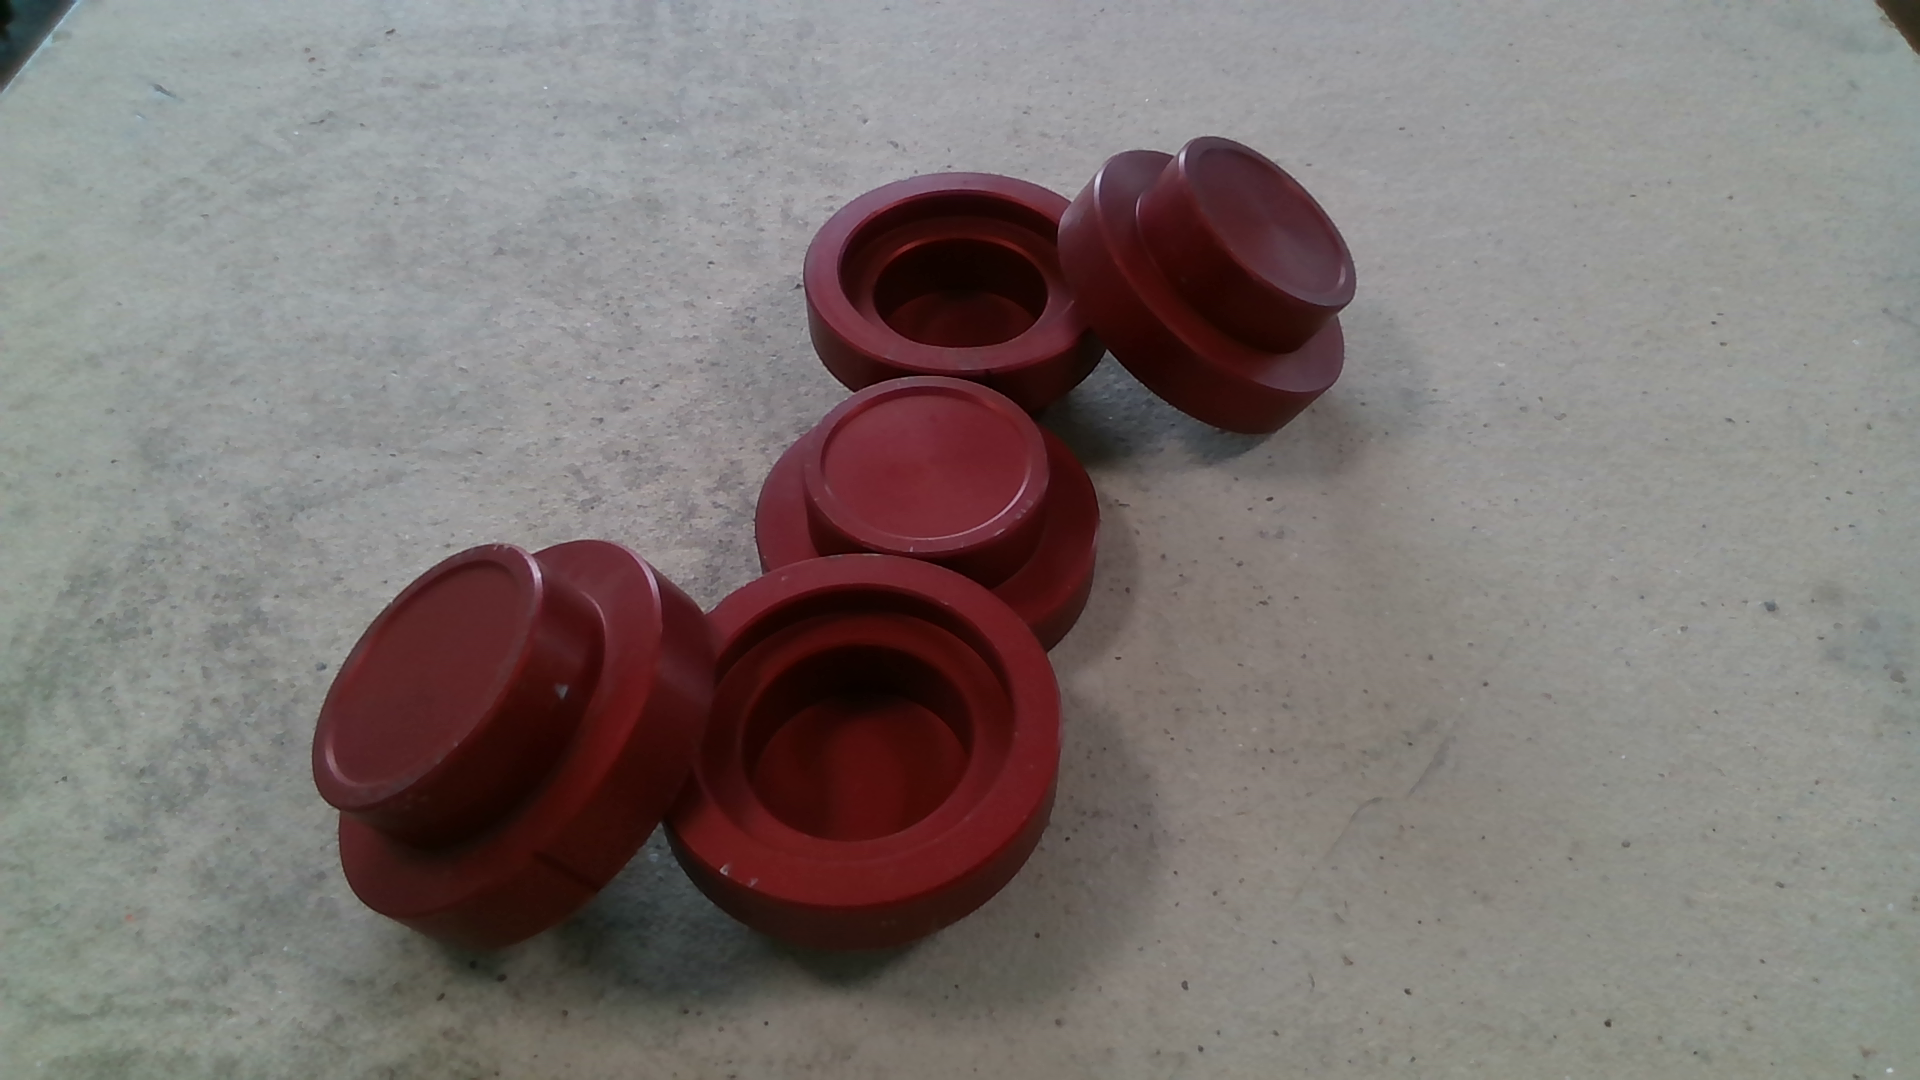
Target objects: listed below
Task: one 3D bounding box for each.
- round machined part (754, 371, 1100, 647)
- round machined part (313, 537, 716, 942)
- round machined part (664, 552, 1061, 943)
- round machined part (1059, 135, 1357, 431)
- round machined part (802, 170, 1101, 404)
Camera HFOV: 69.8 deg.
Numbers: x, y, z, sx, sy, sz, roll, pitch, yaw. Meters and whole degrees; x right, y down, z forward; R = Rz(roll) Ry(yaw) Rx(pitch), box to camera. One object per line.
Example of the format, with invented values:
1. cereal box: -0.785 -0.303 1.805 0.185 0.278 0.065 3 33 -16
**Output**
1. round machined part: -0.009 -0.010 0.389 0.098 0.042 0.098 2 49 -2
2. round machined part: -0.109 0.039 0.321 0.098 0.042 0.098 -20 46 22
3. round machined part: -0.025 0.053 0.338 0.098 0.042 0.098 0 49 0
4. round machined part: 0.082 -0.085 0.425 0.098 0.042 0.098 21 47 -24
5. round machined part: 0.000 -0.073 0.443 0.098 0.042 0.098 0 49 0
